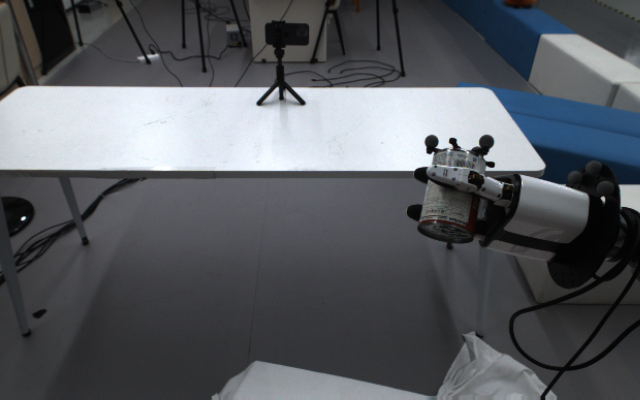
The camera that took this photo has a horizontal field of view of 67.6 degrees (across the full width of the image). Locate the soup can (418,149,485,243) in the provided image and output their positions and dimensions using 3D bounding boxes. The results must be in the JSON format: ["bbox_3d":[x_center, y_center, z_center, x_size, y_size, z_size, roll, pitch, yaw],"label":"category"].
[{"bbox_3d":[0.166,-0.006,0.601,0.067,0.067,0.101,11,72,13],"label":"soup can"}]
